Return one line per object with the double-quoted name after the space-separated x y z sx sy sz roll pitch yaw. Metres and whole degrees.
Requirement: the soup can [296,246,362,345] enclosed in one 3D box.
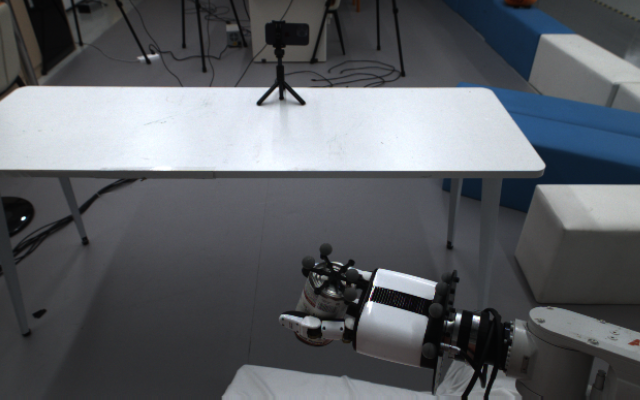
0.006 0.145 0.665 0.067 0.101 0.067 13 35 -9 "soup can"
